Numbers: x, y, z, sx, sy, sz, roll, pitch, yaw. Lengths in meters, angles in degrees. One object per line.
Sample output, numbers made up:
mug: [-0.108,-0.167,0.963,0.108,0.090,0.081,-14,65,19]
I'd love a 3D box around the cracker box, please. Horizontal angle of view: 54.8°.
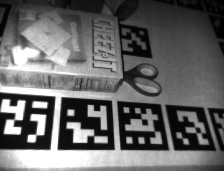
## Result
cracker box: [-0.103,-0.076,0.426,0.215,0.072,0.163,-1,64,-14]

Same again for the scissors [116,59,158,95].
scissors: [0.002,-0.021,0.468,0.204,0.016,0.087,1,65,-17]

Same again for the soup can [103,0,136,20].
soup can: [0.006,-0.233,0.569,0.068,0.068,0.101,-33,72,-28]

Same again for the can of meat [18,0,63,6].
can of meat: [-0.159,-0.203,0.480,0.102,0.083,0.058,18,61,-8]

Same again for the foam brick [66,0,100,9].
foam brick: [-0.073,-0.215,0.536,0.079,0.051,0.052,-5,66,-20]
